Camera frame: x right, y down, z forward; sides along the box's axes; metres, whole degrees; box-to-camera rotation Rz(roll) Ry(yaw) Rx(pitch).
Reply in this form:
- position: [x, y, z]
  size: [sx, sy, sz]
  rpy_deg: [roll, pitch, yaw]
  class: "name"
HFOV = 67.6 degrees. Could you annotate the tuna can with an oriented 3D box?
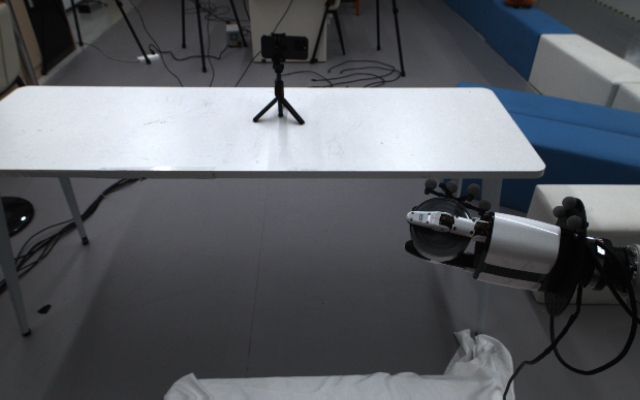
- position: [0.169, 0.036, 0.674]
  size: [0.085, 0.034, 0.085]
  rpy_deg: [-4, 66, 10]
  class: "tuna can"
